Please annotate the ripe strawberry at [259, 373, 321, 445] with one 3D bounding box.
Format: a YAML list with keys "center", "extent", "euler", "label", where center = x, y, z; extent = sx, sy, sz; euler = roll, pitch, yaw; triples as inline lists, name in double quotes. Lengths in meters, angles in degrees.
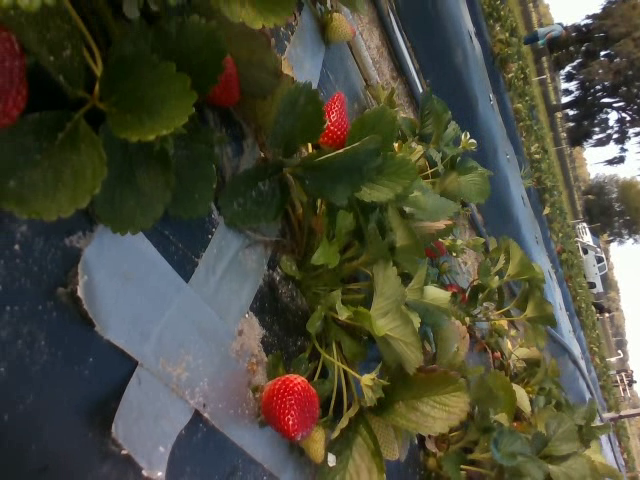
- center: [-0.007, 0.051, 0.175]
  extent: [0.020, 0.023, 0.026]
  euler: [-40, 15, 14]
  label: "ripe strawberry"
